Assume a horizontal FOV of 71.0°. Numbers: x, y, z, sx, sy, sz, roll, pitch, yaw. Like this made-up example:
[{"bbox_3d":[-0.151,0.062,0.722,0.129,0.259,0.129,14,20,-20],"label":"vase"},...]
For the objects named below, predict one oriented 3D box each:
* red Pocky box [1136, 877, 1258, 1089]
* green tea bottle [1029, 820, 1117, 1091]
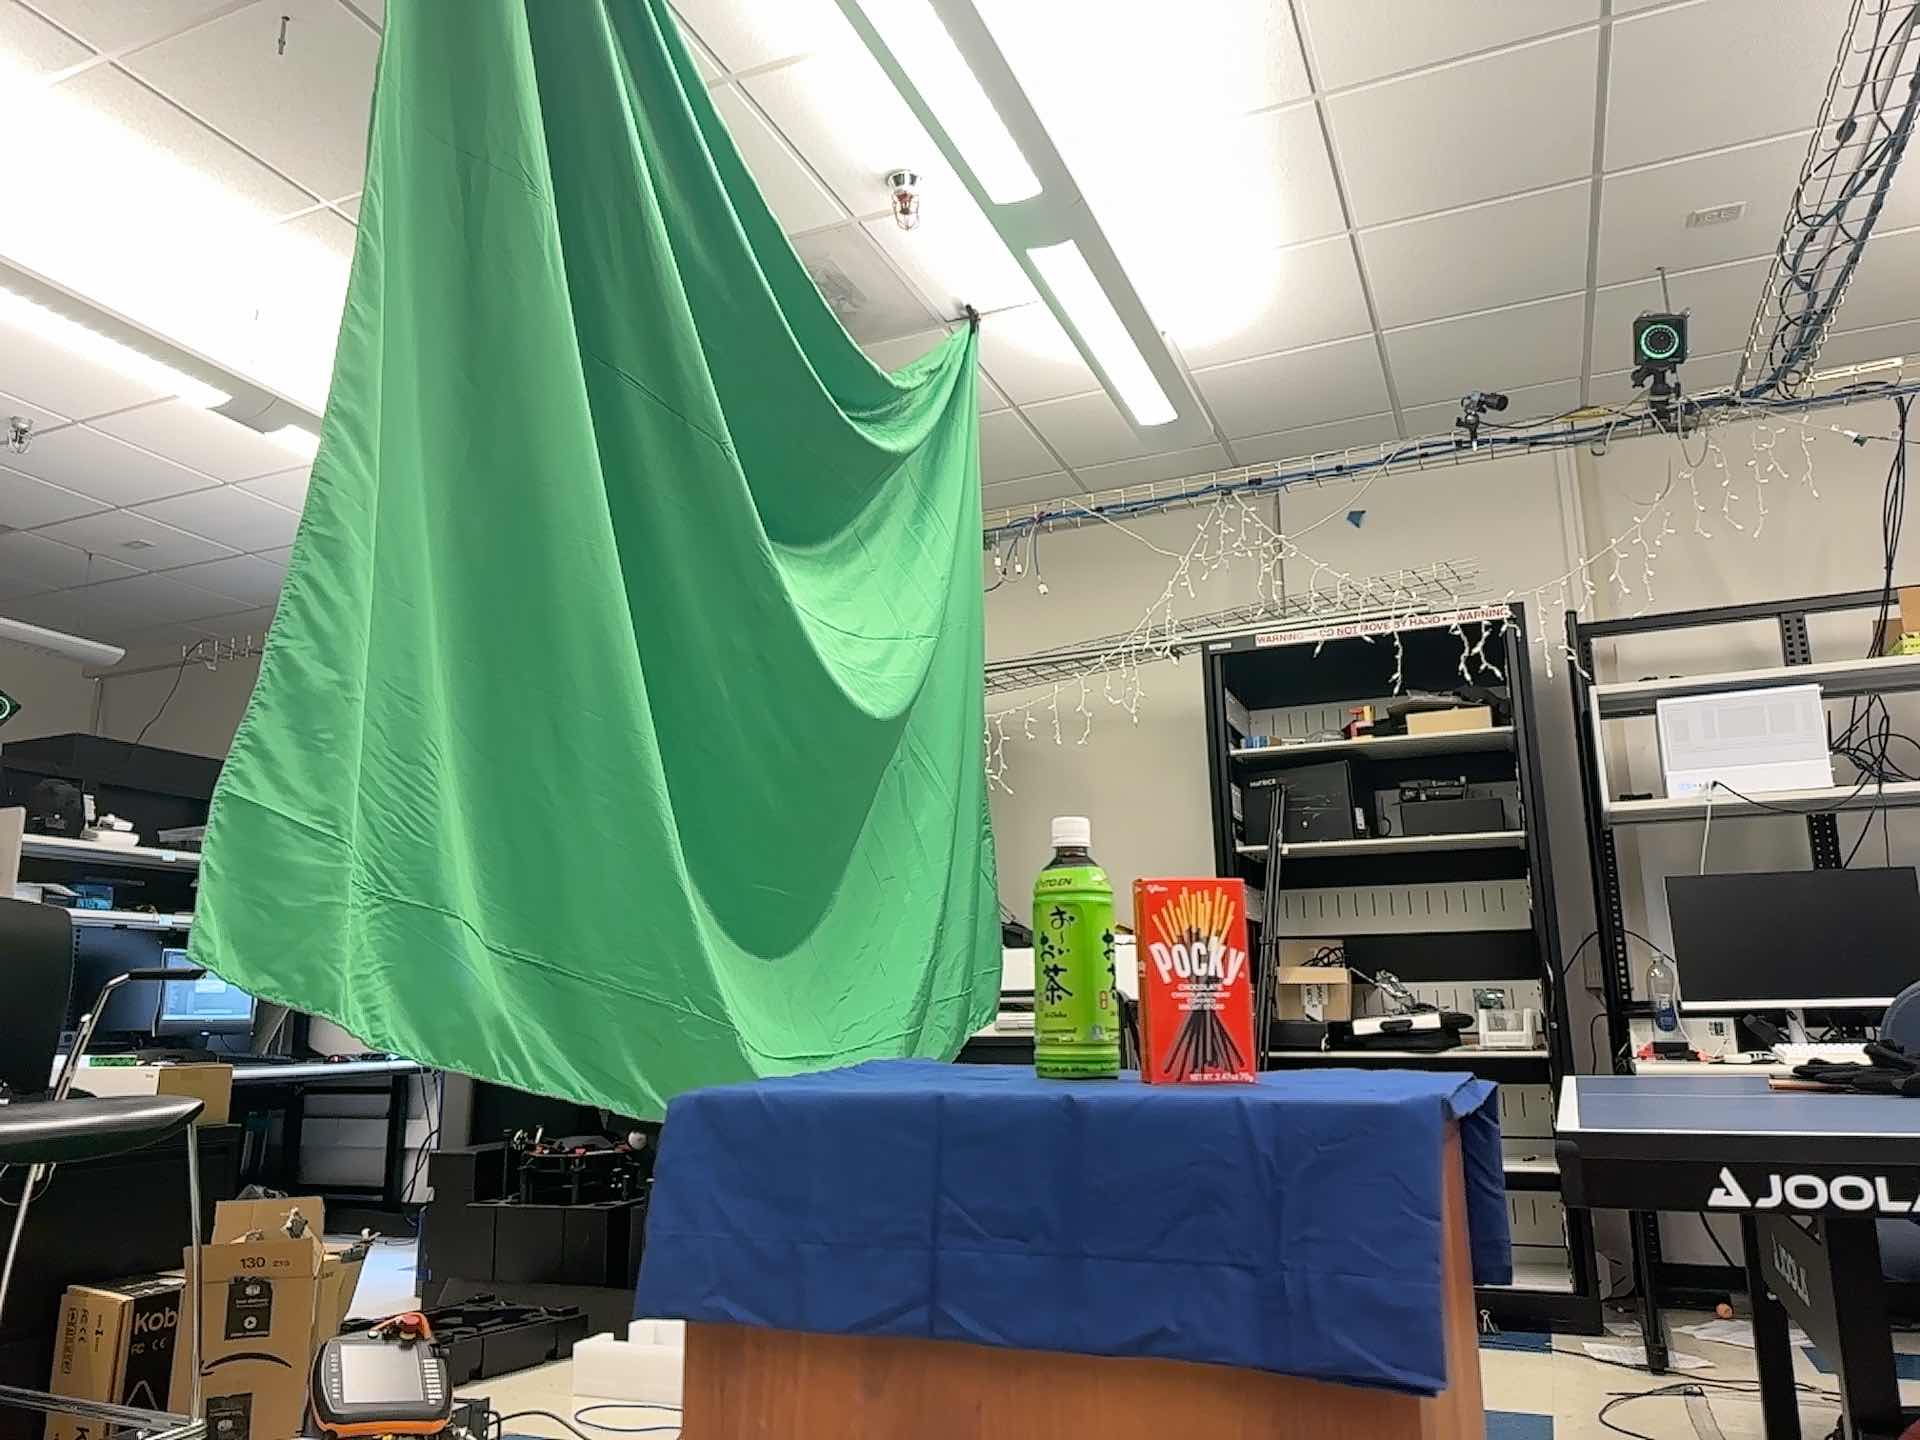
[{"bbox_3d":[0.174,0.194,0.998,0.083,0.155,0.028,1,-10,-6],"label":"red Pocky box"},{"bbox_3d":[0.088,0.187,1.082,0.073,0.212,0.073,-2,-12,0],"label":"green tea bottle"}]
